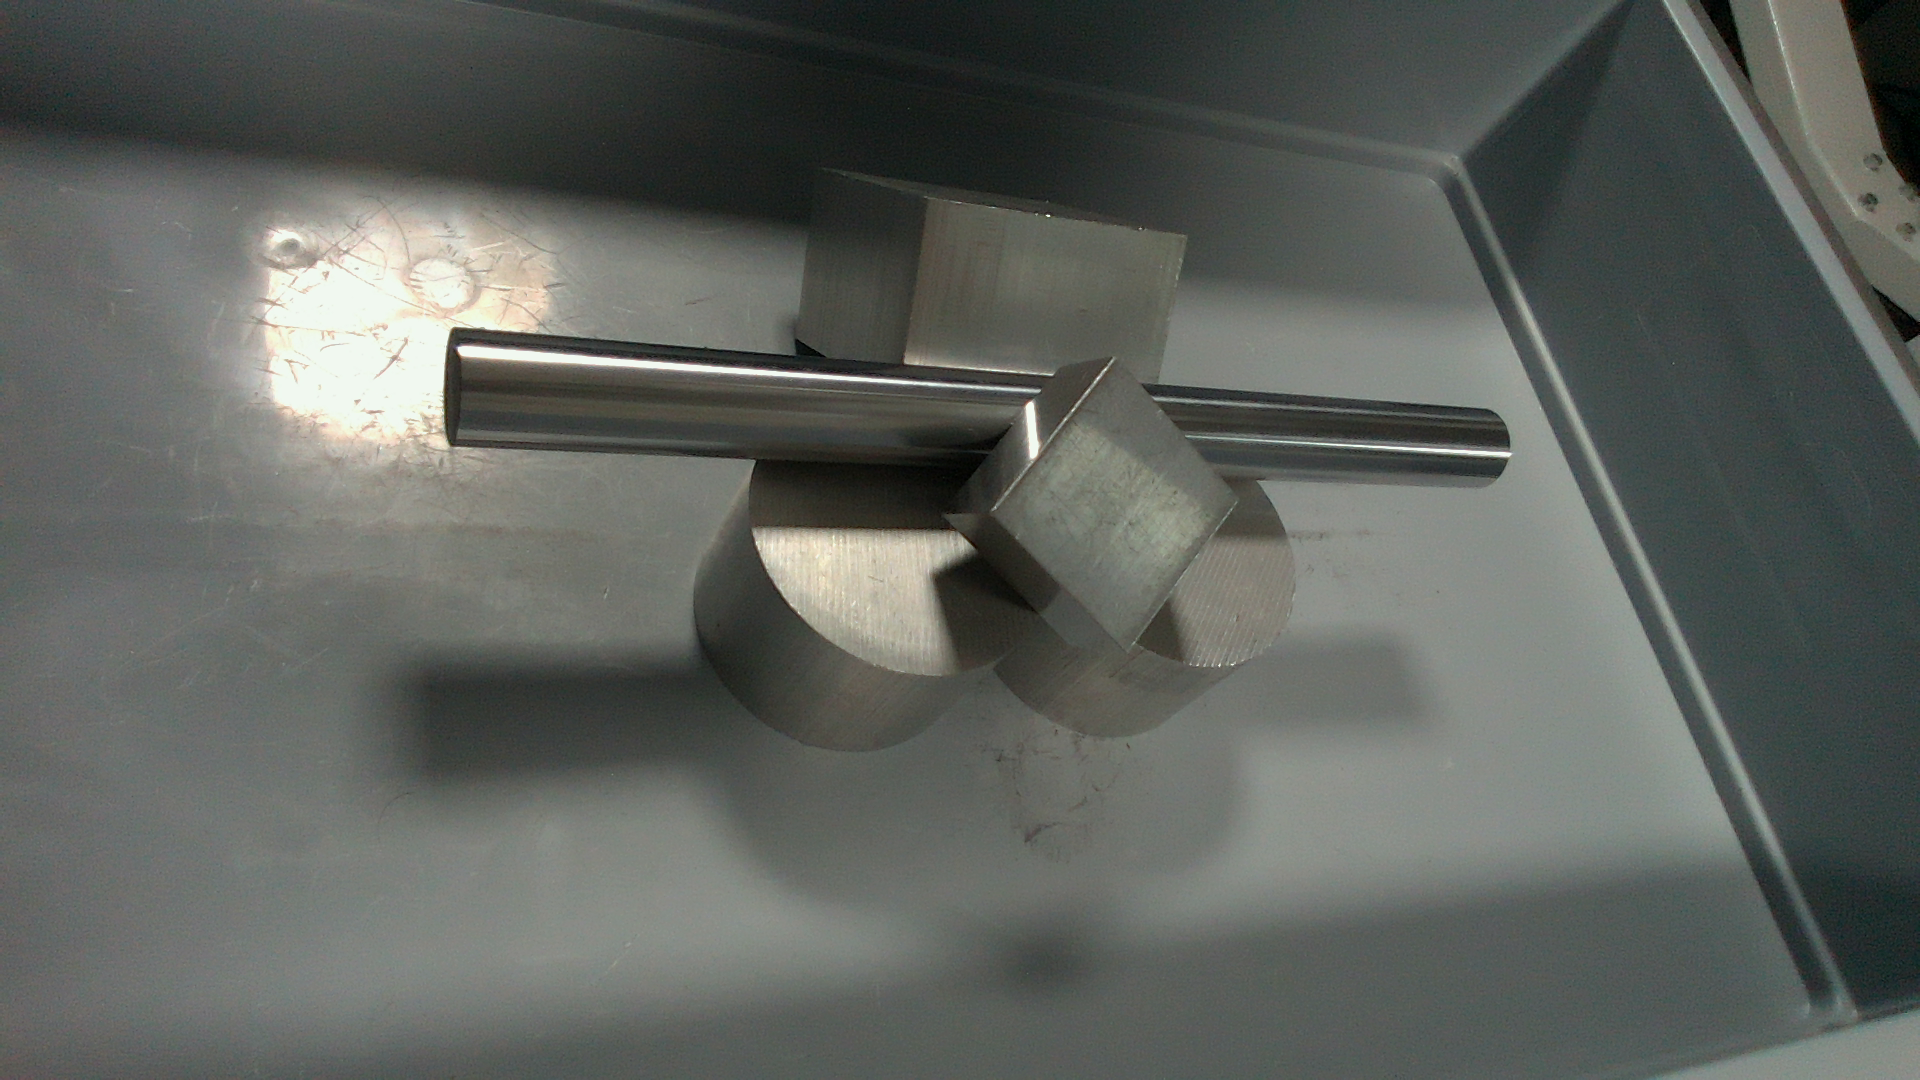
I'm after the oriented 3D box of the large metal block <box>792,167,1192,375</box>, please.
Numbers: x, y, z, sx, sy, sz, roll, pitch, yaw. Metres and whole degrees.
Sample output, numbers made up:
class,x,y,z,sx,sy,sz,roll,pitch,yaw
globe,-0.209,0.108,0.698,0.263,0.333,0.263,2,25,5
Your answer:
class,x,y,z,sx,sy,sz,roll,pitch,yaw
large metal block,0.006,-0.072,0.393,0.080,0.050,0.080,1,18,-28

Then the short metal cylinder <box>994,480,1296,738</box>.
class,x,y,z,sx,sy,sz,roll,pitch,yaw
short metal cylinder,0.047,0.010,0.392,0.080,0.050,0.080,14,56,-21

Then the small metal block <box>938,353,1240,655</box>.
class,x,y,z,sx,sy,sz,roll,pitch,yaw
small metal block,0.032,-0.008,0.332,0.050,0.025,0.050,45,70,-21

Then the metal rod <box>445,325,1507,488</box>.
class,x,y,z,sx,sy,sz,roll,pitch,yaw
metal rod,0.027,-0.030,0.357,0.301,0.025,0.025,1,61,-28

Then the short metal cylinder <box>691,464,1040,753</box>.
class,x,y,z,sx,sy,sz,roll,pitch,yaw
short metal cylinder,-0.024,0.008,0.355,0.080,0.050,0.080,14,56,-21
